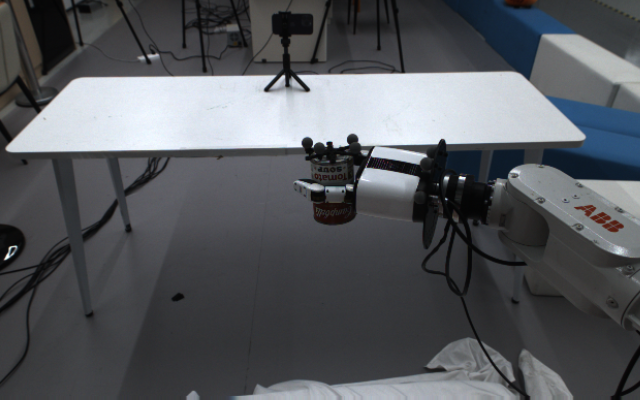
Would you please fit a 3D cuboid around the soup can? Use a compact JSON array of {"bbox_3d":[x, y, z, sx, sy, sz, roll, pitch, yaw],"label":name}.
[{"bbox_3d":[0.021,-0.022,0.742,0.067,0.101,0.067,-3,26,2],"label":"soup can"}]
